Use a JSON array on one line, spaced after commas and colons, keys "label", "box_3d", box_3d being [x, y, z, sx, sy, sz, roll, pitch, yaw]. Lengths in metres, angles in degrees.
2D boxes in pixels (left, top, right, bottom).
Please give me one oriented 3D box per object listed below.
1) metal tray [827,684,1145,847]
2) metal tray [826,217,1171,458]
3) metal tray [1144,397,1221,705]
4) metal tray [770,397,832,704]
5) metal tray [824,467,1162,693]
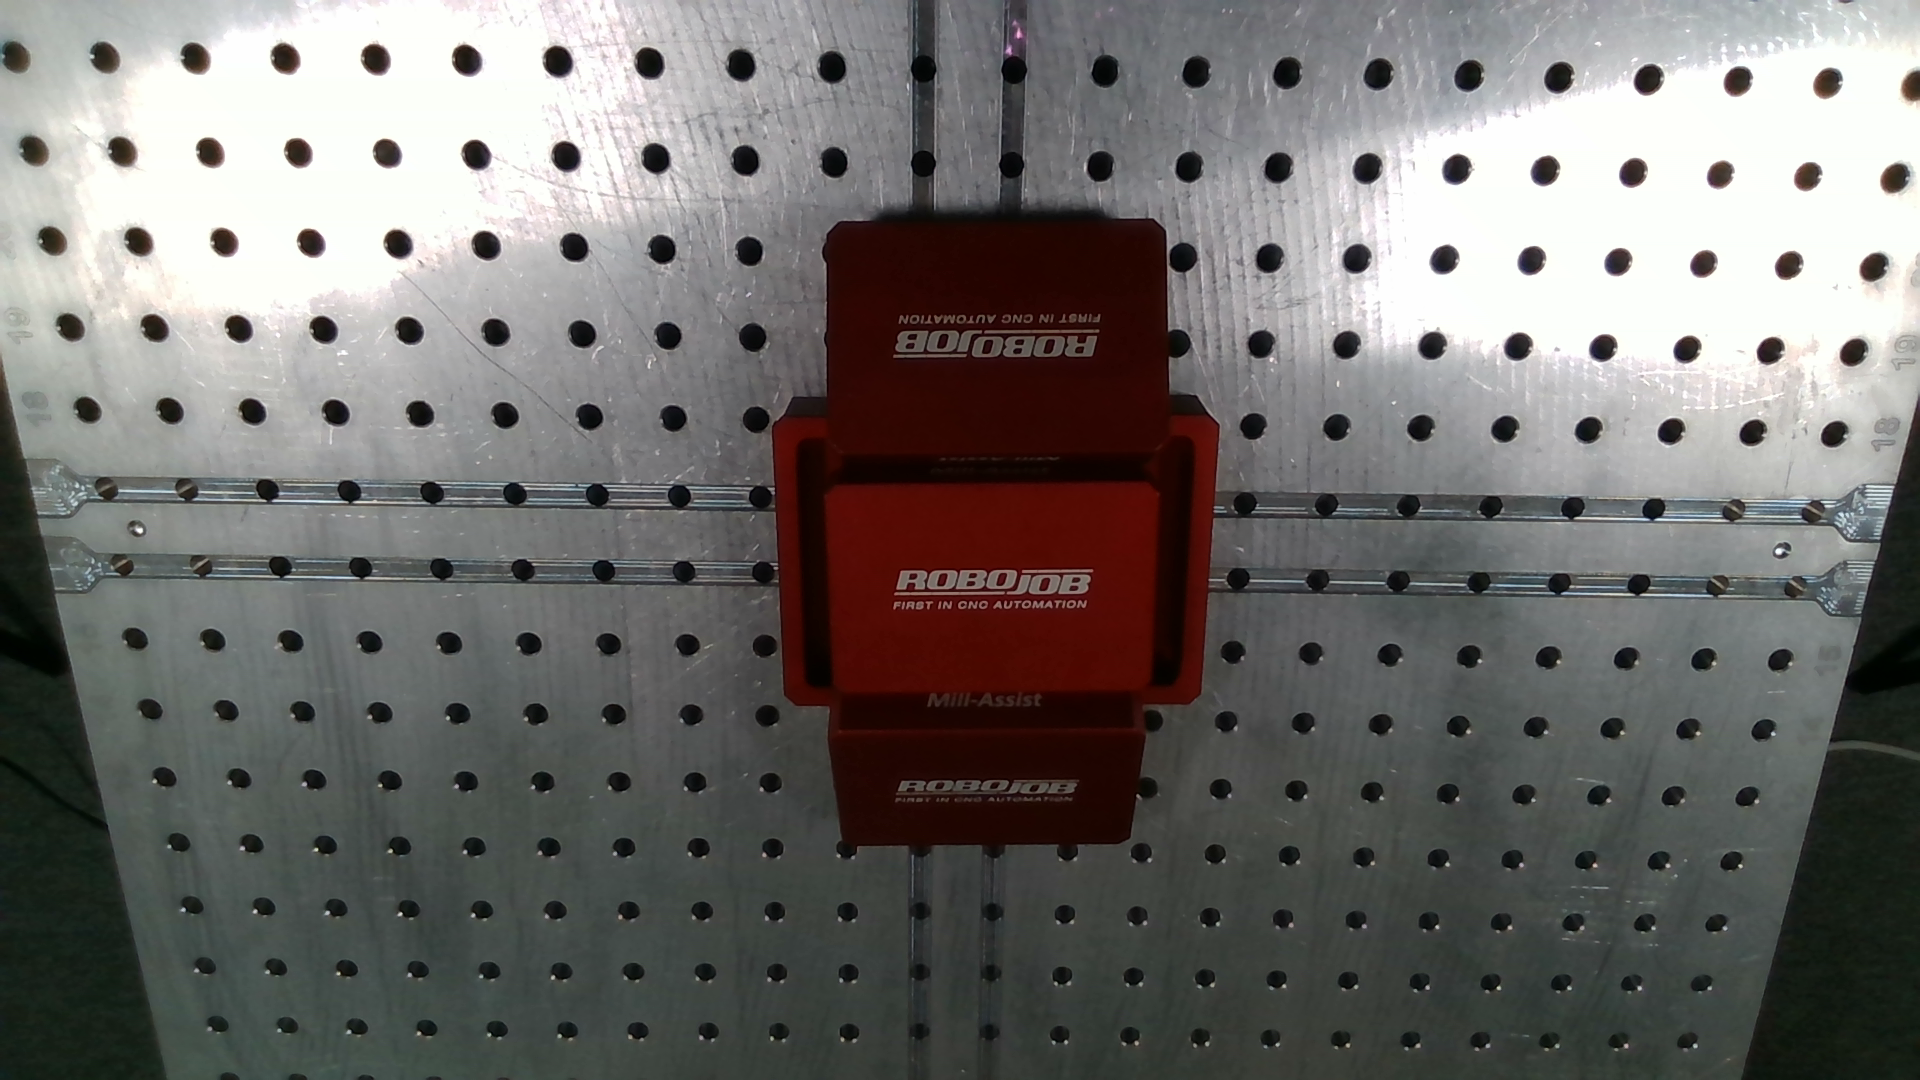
[{"label": "metal tray", "box_3d": [0.011, 0.098, 0.600, 0.130, 0.030, 0.090, -1, 137, 0]}, {"label": "metal tray", "box_3d": [0.014, -0.077, 0.537, 0.130, 0.030, 0.090, 0, 84, 0]}, {"label": "metal tray", "box_3d": [0.059, 0.005, 0.586, 0.090, 0.030, 0.130, 0, 110, 0]}, {"label": "metal tray", "box_3d": [-0.032, 0.006, 0.587, 0.090, 0.030, 0.130, 0, 110, 0]}, {"label": "metal tray", "box_3d": [0.013, 0.015, 0.558, 0.130, 0.030, 0.090, 0, 110, 0]}]
